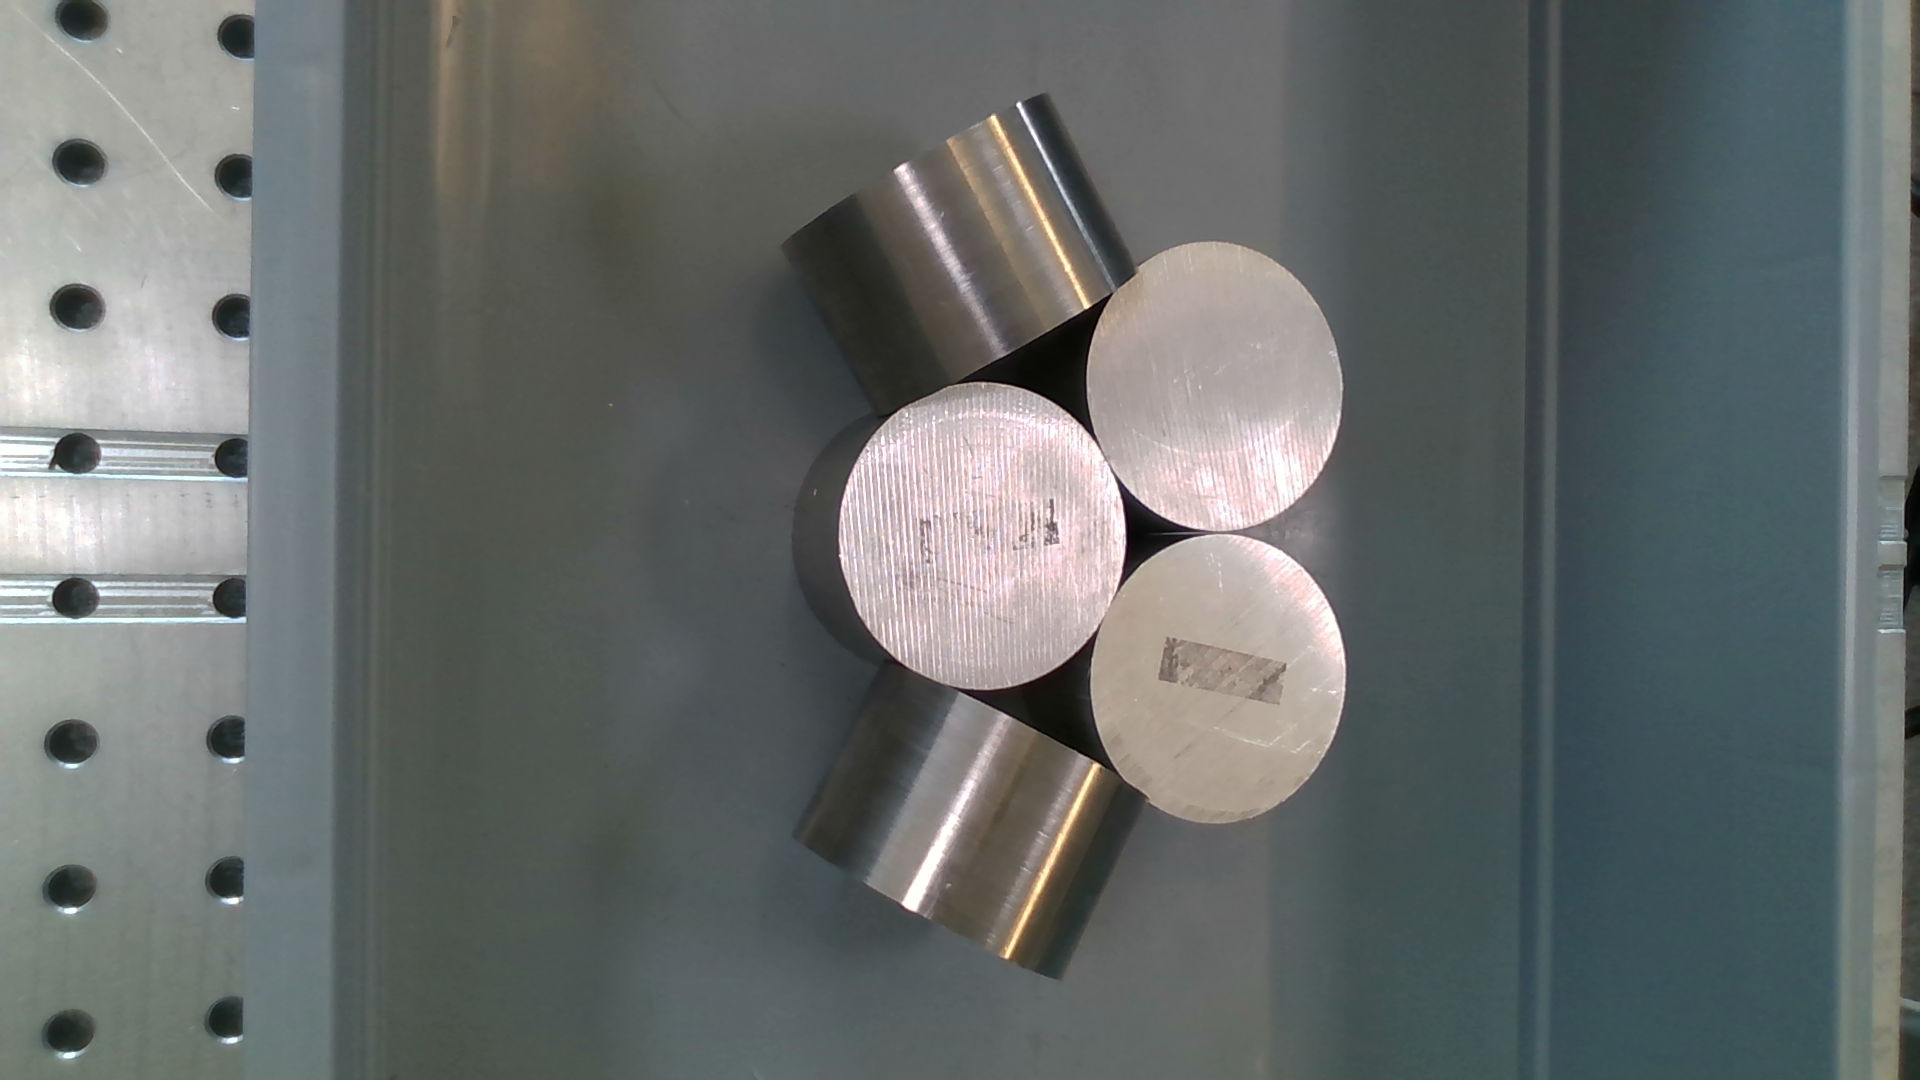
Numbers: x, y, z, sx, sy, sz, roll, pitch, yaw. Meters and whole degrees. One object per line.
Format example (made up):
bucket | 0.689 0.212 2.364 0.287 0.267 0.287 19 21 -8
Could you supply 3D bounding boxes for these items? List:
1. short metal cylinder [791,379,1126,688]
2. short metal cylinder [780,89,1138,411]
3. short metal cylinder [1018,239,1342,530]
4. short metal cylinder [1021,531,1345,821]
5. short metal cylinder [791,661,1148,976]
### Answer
short metal cylinder | -0.001 -0.002 0.379 0.080 0.050 0.080 0 90 -20
short metal cylinder | 0.000 -0.075 0.364 0.080 0.080 0.050 -32 101 -17
short metal cylinder | 0.063 -0.043 0.403 0.080 0.050 0.080 0 90 -20
short metal cylinder | 0.064 0.038 0.403 0.080 0.050 0.080 0 90 -20
short metal cylinder | 0.003 0.073 0.365 0.080 0.080 0.050 31 80 -17
